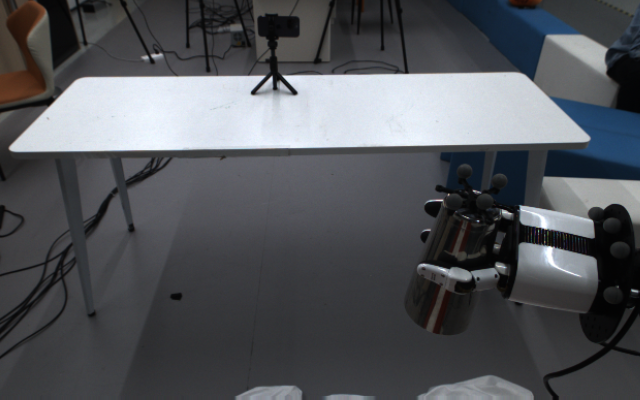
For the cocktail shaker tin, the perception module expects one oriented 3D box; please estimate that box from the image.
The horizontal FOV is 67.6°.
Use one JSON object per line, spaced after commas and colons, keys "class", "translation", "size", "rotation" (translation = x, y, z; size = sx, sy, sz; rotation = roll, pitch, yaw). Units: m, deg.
{"class": "cocktail shaker tin", "translation": [0.168, 0.073, 0.595], "size": [0.093, 0.170, 0.093], "rotation": [4, 36, -3]}
